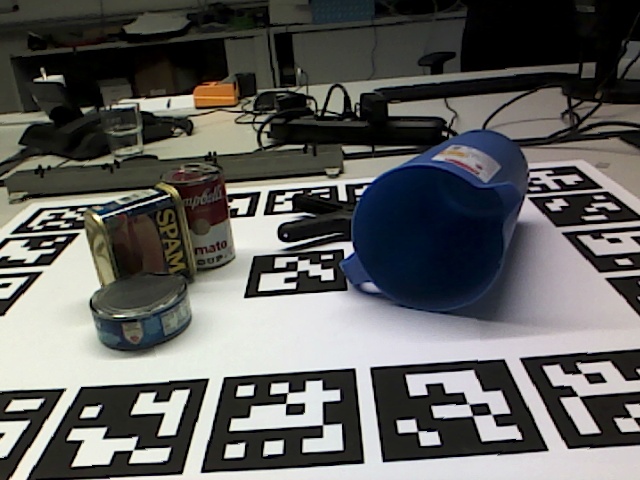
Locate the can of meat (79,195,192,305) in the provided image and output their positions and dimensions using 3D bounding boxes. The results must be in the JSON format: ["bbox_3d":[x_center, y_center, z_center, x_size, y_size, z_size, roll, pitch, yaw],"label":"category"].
[{"bbox_3d":[-0.186,0.017,0.624,0.083,0.101,0.058,-25,32,-29],"label":"can of meat"}]

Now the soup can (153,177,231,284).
[{"bbox_3d":[-0.140,-0.011,0.687,0.068,0.102,0.068,-7,26,3],"label":"soup can"}]

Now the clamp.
[{"bbox_3d":[0.019,-0.010,0.752,0.165,0.036,0.122,0,21,2],"label":"clamp"}]

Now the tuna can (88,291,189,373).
[{"bbox_3d":[-0.164,0.083,0.565,0.086,0.033,0.086,-4,26,2],"label":"tuna can"}]

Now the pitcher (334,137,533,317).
[{"bbox_3d":[0.127,-0.028,0.623,0.190,0.133,0.242,-18,9,28],"label":"pitcher"}]
